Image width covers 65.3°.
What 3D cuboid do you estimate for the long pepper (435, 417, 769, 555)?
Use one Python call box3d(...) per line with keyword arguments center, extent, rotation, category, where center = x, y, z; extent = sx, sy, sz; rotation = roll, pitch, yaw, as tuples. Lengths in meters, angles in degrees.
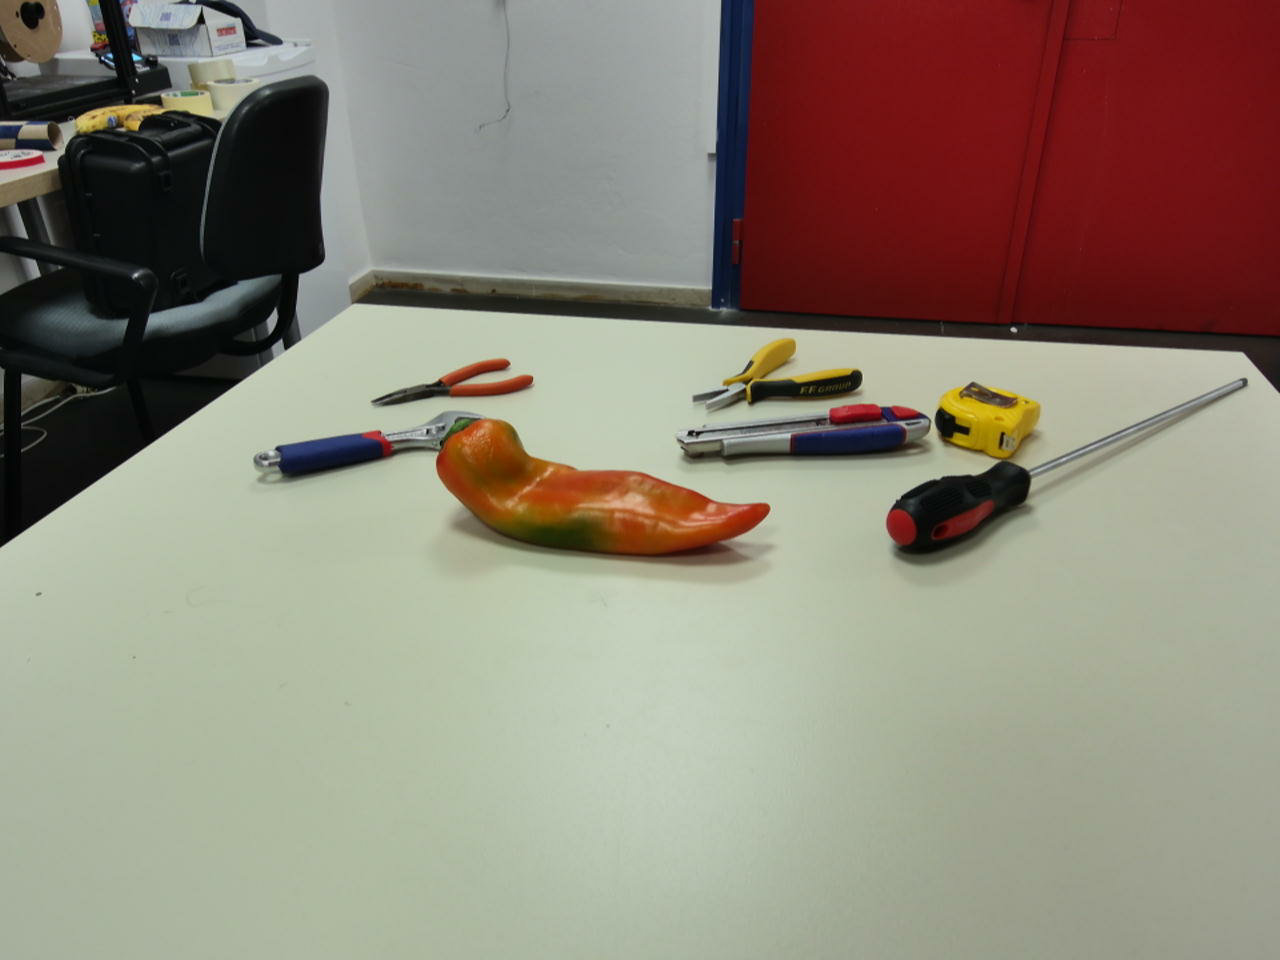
box3d(center=(-0.025, 0.003, 0.587), extent=(0.199, 0.065, 0.066), rotation=(8, 27, 16), category="long pepper")
